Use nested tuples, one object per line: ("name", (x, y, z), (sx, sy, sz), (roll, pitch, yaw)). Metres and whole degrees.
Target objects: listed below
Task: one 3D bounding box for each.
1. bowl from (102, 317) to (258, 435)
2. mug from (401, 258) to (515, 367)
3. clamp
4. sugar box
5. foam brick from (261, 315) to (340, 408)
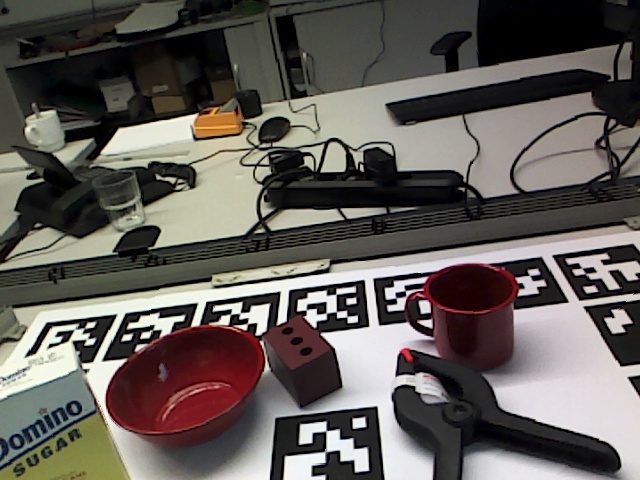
("bowl", (-0.139, 0.150, 0.648), (0.162, 0.055, 0.162), (-8, 29, 4))
("mug", (0.142, 0.076, 0.651), (0.118, 0.081, 0.093), (10, 35, 27))
("clamp", (0.109, 0.159, 0.553), (0.165, 0.036, 0.204), (-20, 31, -12))
("sugar box", (-0.227, 0.174, 0.513), (0.092, 0.176, 0.045), (-18, 31, -16))
("foam brick", (-0.022, 0.129, 0.661), (0.052, 0.051, 0.078), (-22, 31, -17))
